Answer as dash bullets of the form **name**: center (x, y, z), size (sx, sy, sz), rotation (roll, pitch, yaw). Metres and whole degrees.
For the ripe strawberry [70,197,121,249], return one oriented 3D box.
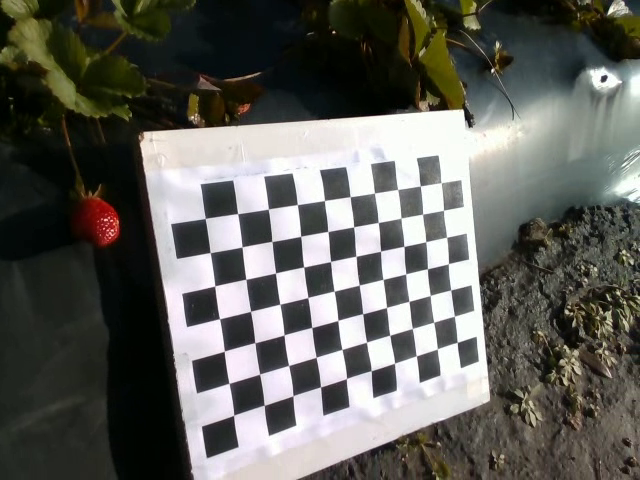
- **ripe strawberry**: center (-0.124, -0.007, 0.336), size (0.034, 0.033, 0.037), rotation (-12, 46, -29)
